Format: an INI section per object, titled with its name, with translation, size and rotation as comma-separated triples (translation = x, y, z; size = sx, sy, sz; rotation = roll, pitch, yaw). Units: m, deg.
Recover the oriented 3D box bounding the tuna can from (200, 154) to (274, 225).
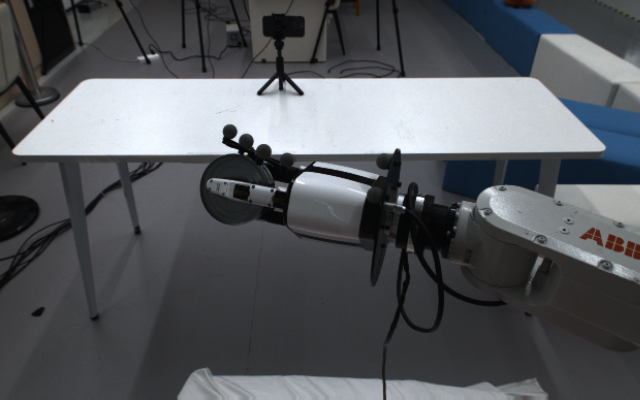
[tuna can]
translation = -0.098, -0.013, 0.591
size = 0.085, 0.085, 0.034
rotation = 10, 4, 11
